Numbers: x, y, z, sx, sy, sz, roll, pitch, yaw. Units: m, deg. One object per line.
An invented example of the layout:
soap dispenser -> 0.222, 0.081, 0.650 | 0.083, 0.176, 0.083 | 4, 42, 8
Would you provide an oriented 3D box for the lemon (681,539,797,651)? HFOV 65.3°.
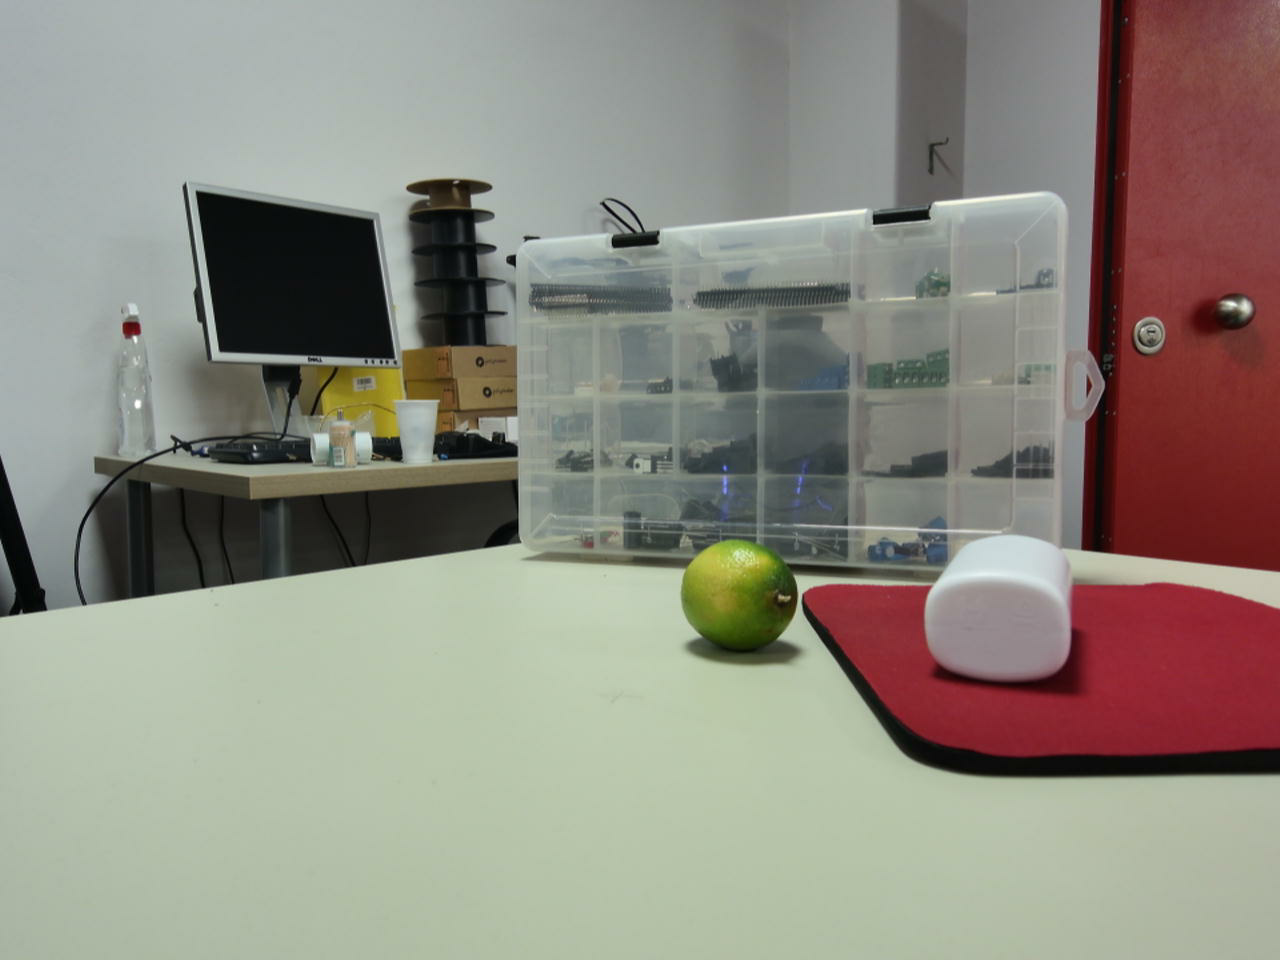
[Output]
lemon -> 0.046, 0.054, 0.474 | 0.054, 0.050, 0.055 | 0, 3, 9
